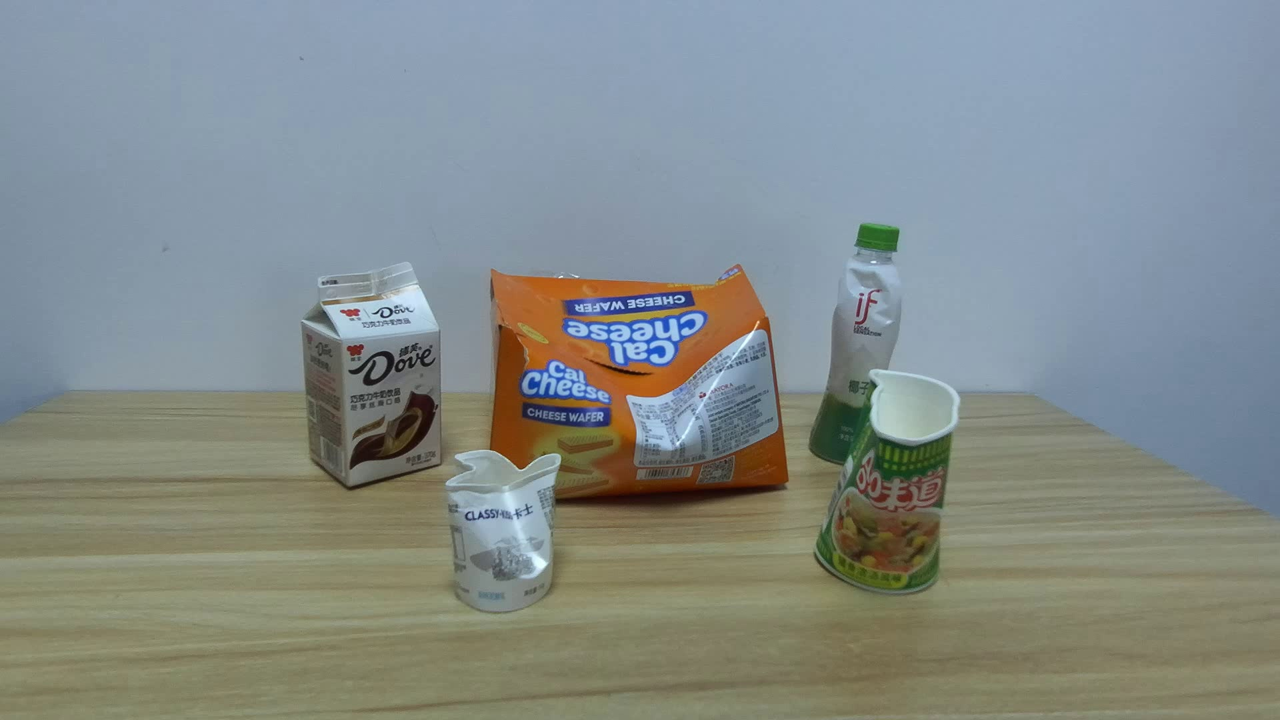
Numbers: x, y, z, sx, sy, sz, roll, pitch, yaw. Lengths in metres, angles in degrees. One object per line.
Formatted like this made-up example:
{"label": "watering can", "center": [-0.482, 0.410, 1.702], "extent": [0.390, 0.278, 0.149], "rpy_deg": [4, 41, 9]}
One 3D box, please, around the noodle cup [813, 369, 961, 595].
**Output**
{"label": "noodle cup", "center": [0.144, 0.071, 0.410], "extent": [0.070, 0.111, 0.115], "rpy_deg": [13, 19, 34]}

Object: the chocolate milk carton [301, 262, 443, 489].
{"label": "chocolate milk carton", "center": [-0.194, 0.006, 0.515], "extent": [0.076, 0.148, 0.073], "rpy_deg": [-11, 20, -44]}

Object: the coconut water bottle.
{"label": "coconut water bottle", "center": [0.178, -0.011, 0.563], "extent": [0.067, 0.187, 0.067], "rpy_deg": [4, 12, -1]}

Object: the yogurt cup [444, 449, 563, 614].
{"label": "yogurt cup", "center": [-0.073, 0.089, 0.380], "extent": [0.055, 0.072, 0.055], "rpy_deg": [2, 16, 0]}

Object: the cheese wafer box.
{"label": "cheese wafer box", "center": [-0.003, 0.011, 0.532], "extent": [0.219, 0.145, 0.191], "rpy_deg": [0, 16, -12]}
